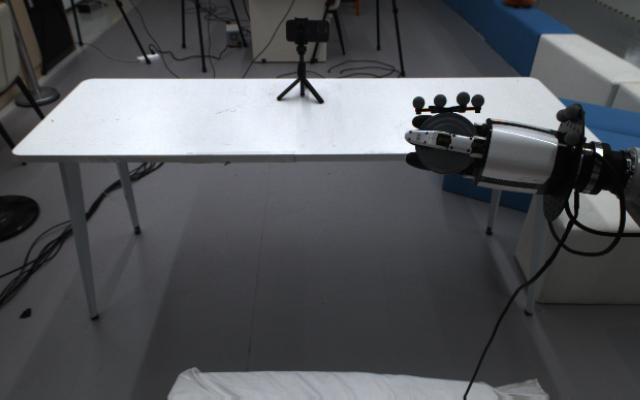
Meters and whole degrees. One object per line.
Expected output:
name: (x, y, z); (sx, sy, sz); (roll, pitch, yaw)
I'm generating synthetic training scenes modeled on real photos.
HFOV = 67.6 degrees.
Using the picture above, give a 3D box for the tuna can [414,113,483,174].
tuna can: (0.180, -0.080, 0.685); (0.085, 0.085, 0.034); (12, 8, 14)
